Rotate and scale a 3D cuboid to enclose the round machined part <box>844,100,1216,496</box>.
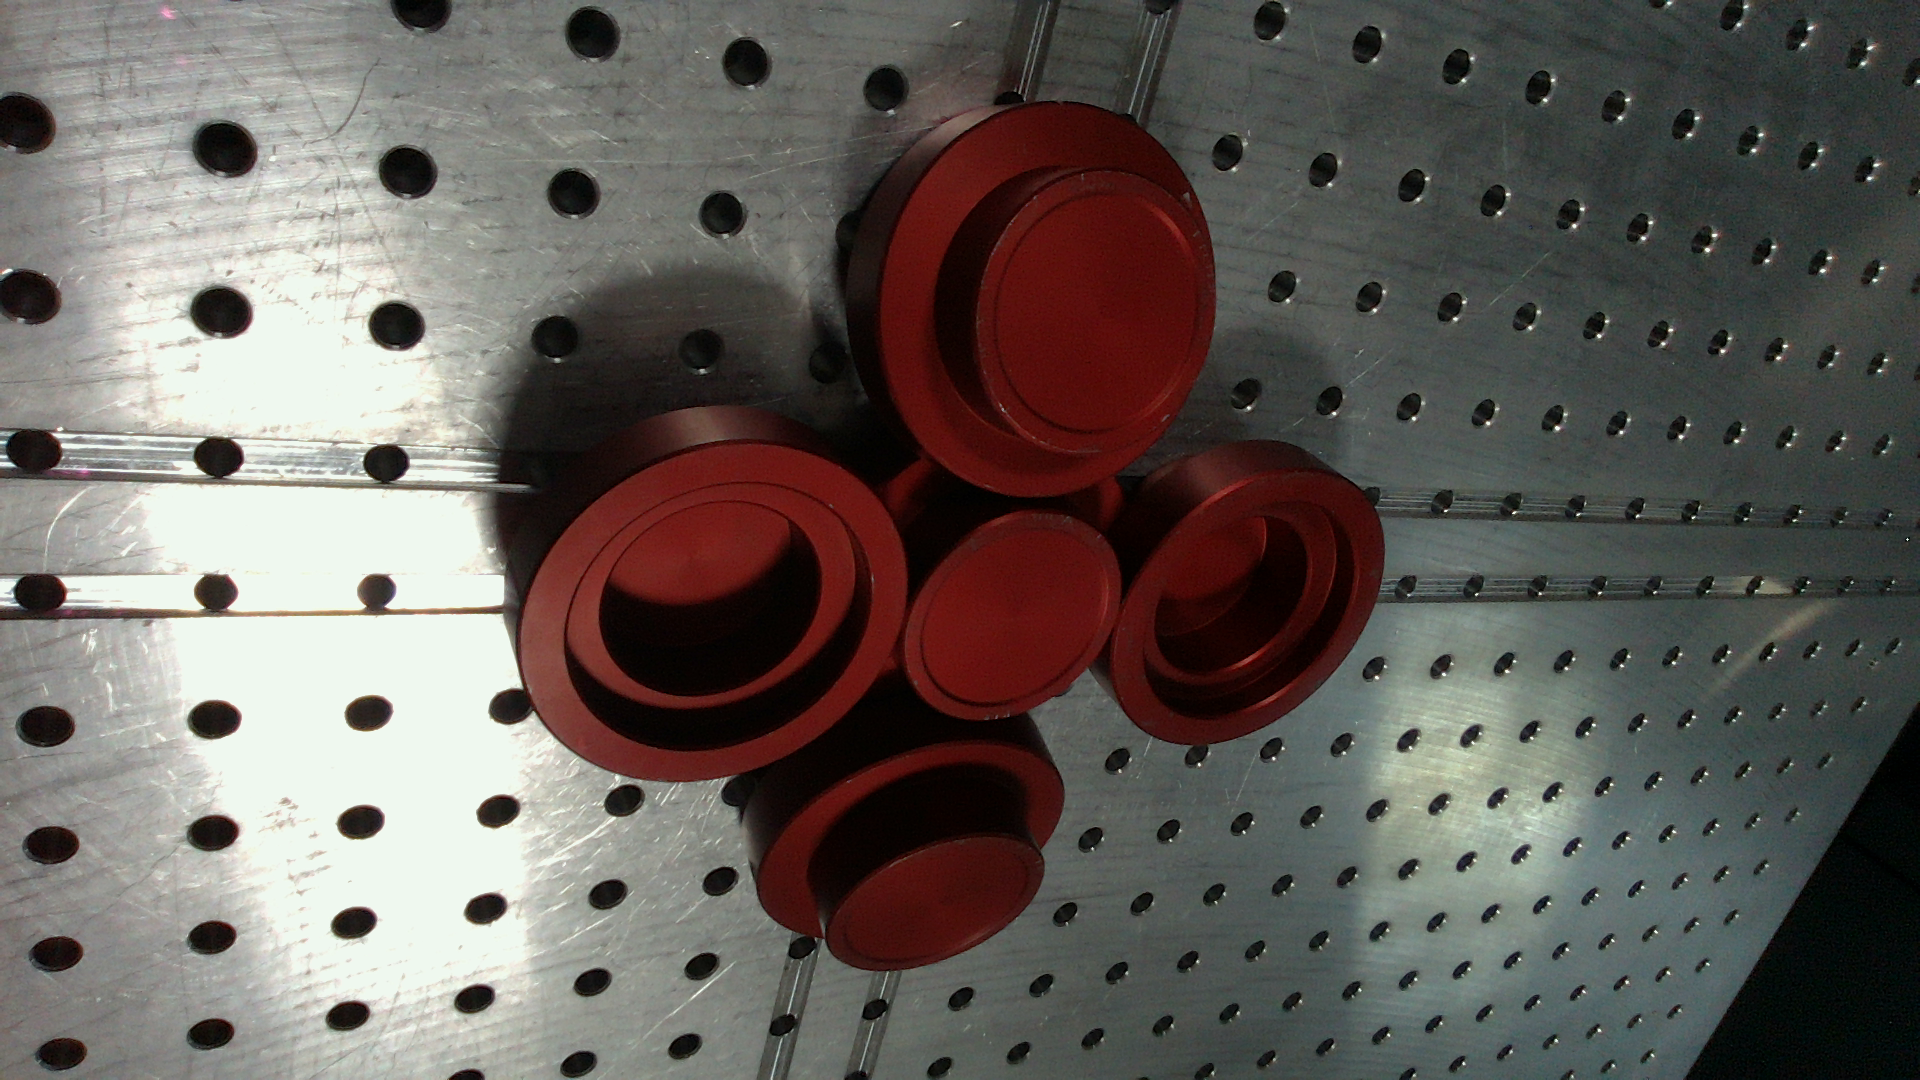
[{"bbox_3d":[0.024,-0.059,0.344,0.098,0.042,0.098,-7,107,-25],"label":"round machined part"}]

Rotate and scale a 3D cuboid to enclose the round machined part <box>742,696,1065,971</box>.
[{"bbox_3d":[-0.013,0.094,0.417,0.098,0.042,0.098,-15,138,-14],"label":"round machined part"}]

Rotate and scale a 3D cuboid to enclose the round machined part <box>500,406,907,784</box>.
[{"bbox_3d":[-0.066,0.010,0.351,0.098,0.042,0.098,-14,124,-21],"label":"round machined part"}]

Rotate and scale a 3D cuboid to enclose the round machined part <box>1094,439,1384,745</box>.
[{"bbox_3d":[0.080,0.012,0.432,0.098,0.042,0.098,-14,124,-21],"label":"round machined part"}]

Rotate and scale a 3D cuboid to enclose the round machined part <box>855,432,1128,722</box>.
[{"bbox_3d":[0.007,0.012,0.391,0.098,0.042,0.098,-14,124,-21],"label":"round machined part"}]
